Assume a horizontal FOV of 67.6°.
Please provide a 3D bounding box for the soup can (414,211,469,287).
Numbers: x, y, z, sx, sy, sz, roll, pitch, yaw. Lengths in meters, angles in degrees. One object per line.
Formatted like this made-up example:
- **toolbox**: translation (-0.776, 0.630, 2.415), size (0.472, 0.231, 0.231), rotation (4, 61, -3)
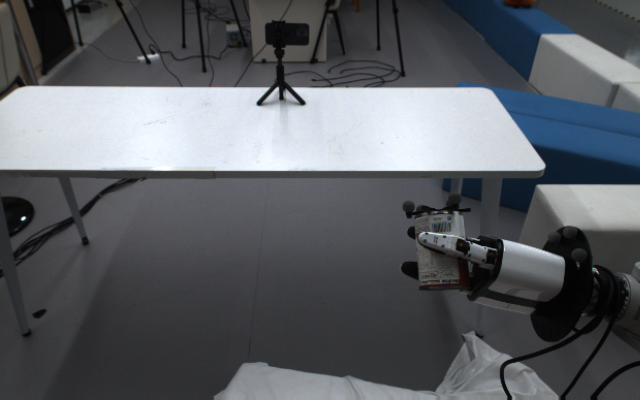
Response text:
- **soup can**: translation (0.165, 0.068, 0.657), size (0.067, 0.067, 0.101), rotation (0, 75, -4)
